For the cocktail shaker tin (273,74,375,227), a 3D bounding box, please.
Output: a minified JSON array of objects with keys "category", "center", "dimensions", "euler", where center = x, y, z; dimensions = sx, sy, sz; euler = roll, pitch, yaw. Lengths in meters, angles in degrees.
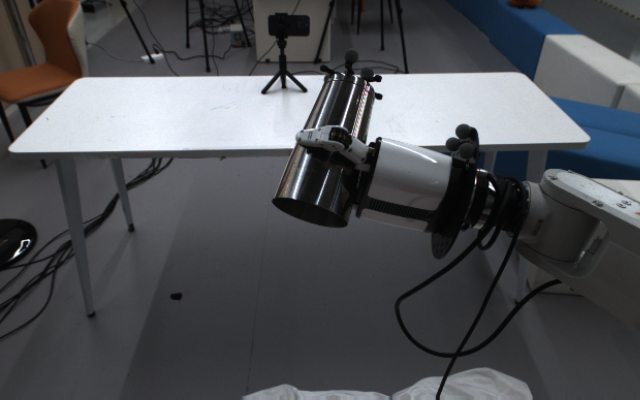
[{"category":"cocktail shaker tin","center":[0.013,-0.061,0.581],"dimensions":[0.093,0.093,0.170],"euler":[14,74,16]}]
